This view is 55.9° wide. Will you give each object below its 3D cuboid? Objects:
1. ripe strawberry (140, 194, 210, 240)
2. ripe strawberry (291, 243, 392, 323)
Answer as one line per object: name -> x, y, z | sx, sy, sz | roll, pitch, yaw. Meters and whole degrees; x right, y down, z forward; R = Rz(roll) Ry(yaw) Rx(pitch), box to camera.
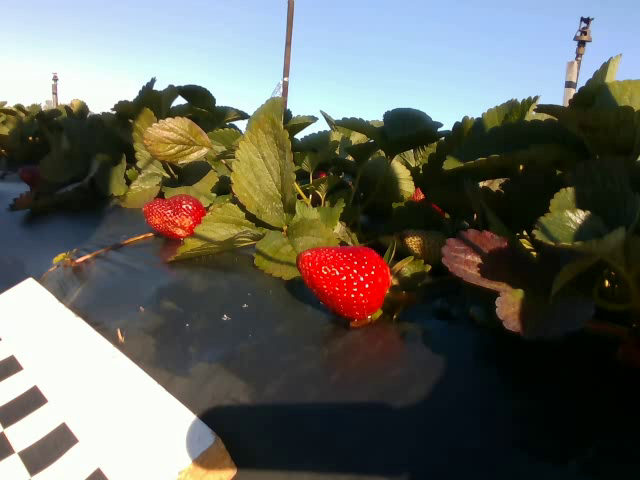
ripe strawberry -> -0.111, -0.018, 0.454 | 0.053, 0.043, 0.041 | 15, 11, -35
ripe strawberry -> 0.007, 0.018, 0.288 | 0.050, 0.043, 0.043 | 24, 24, -20
